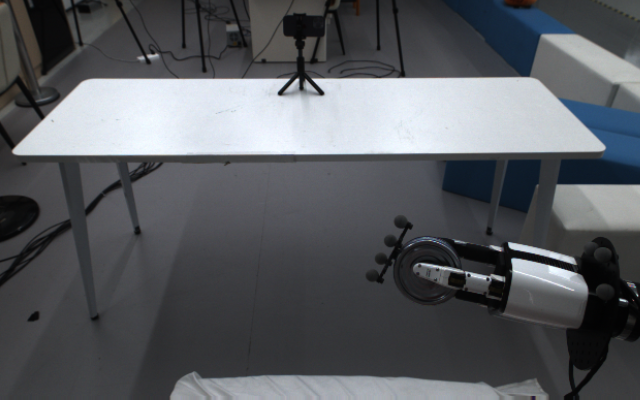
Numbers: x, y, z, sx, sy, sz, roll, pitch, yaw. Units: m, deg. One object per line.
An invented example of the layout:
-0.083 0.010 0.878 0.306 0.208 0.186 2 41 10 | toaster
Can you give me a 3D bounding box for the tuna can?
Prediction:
0.140 0.087 0.618 0.085 0.085 0.034 9 4 10 | tuna can
